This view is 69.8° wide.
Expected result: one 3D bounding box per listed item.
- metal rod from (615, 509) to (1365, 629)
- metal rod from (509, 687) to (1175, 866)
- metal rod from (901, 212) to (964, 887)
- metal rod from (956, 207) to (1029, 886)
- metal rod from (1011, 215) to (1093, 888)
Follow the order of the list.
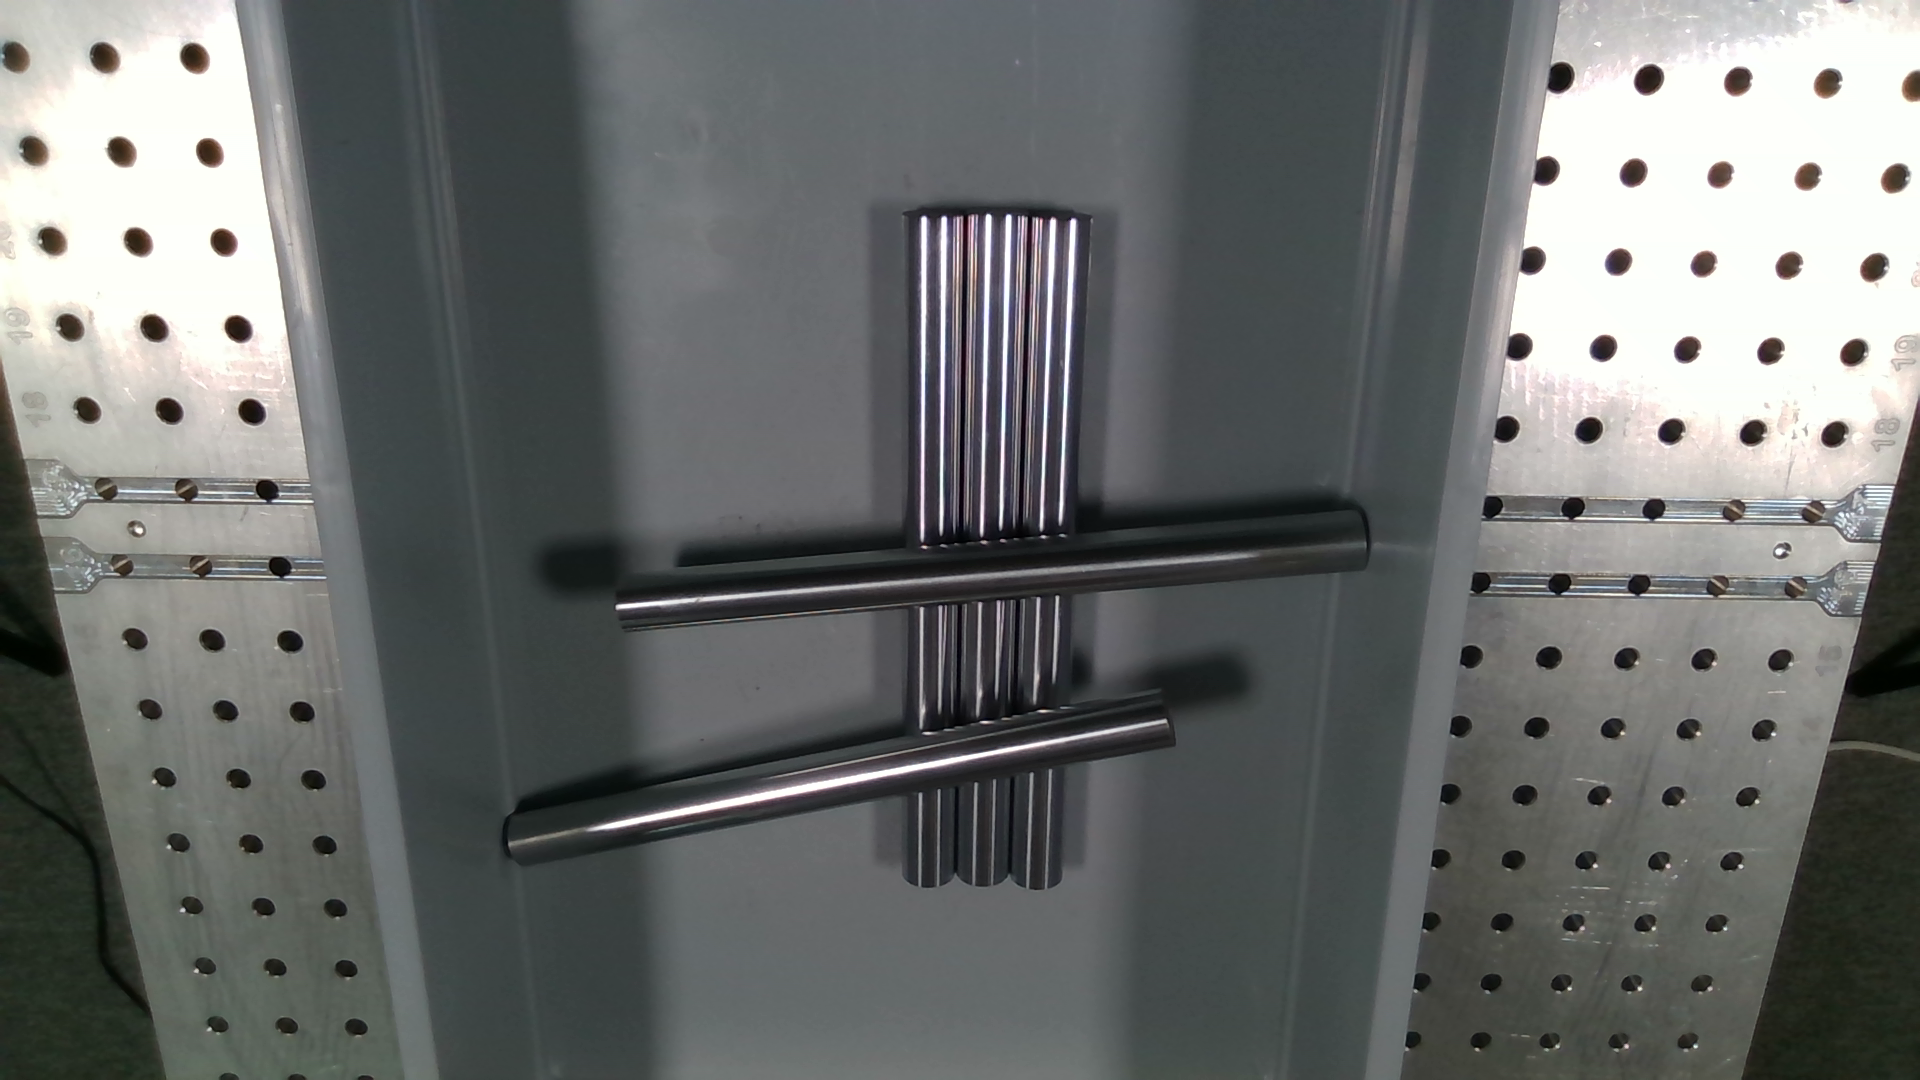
[{"bbox_3d":[0.011,0.012,0.561,0.300,0.025,0.025,-5,110,2],"label":"metal rod"},{"bbox_3d":[-0.057,0.105,0.601,0.300,0.025,0.025,-13,110,12],"label":"metal rod"},{"bbox_3d":[-0.013,0.013,0.589,0.025,0.025,0.301,1,110,0],"label":"metal rod"},{"bbox_3d":[0.012,0.013,0.588,0.025,0.025,0.301,1,110,0],"label":"metal rod"},{"bbox_3d":[0.037,0.014,0.589,0.025,0.025,0.301,1,110,0],"label":"metal rod"}]
